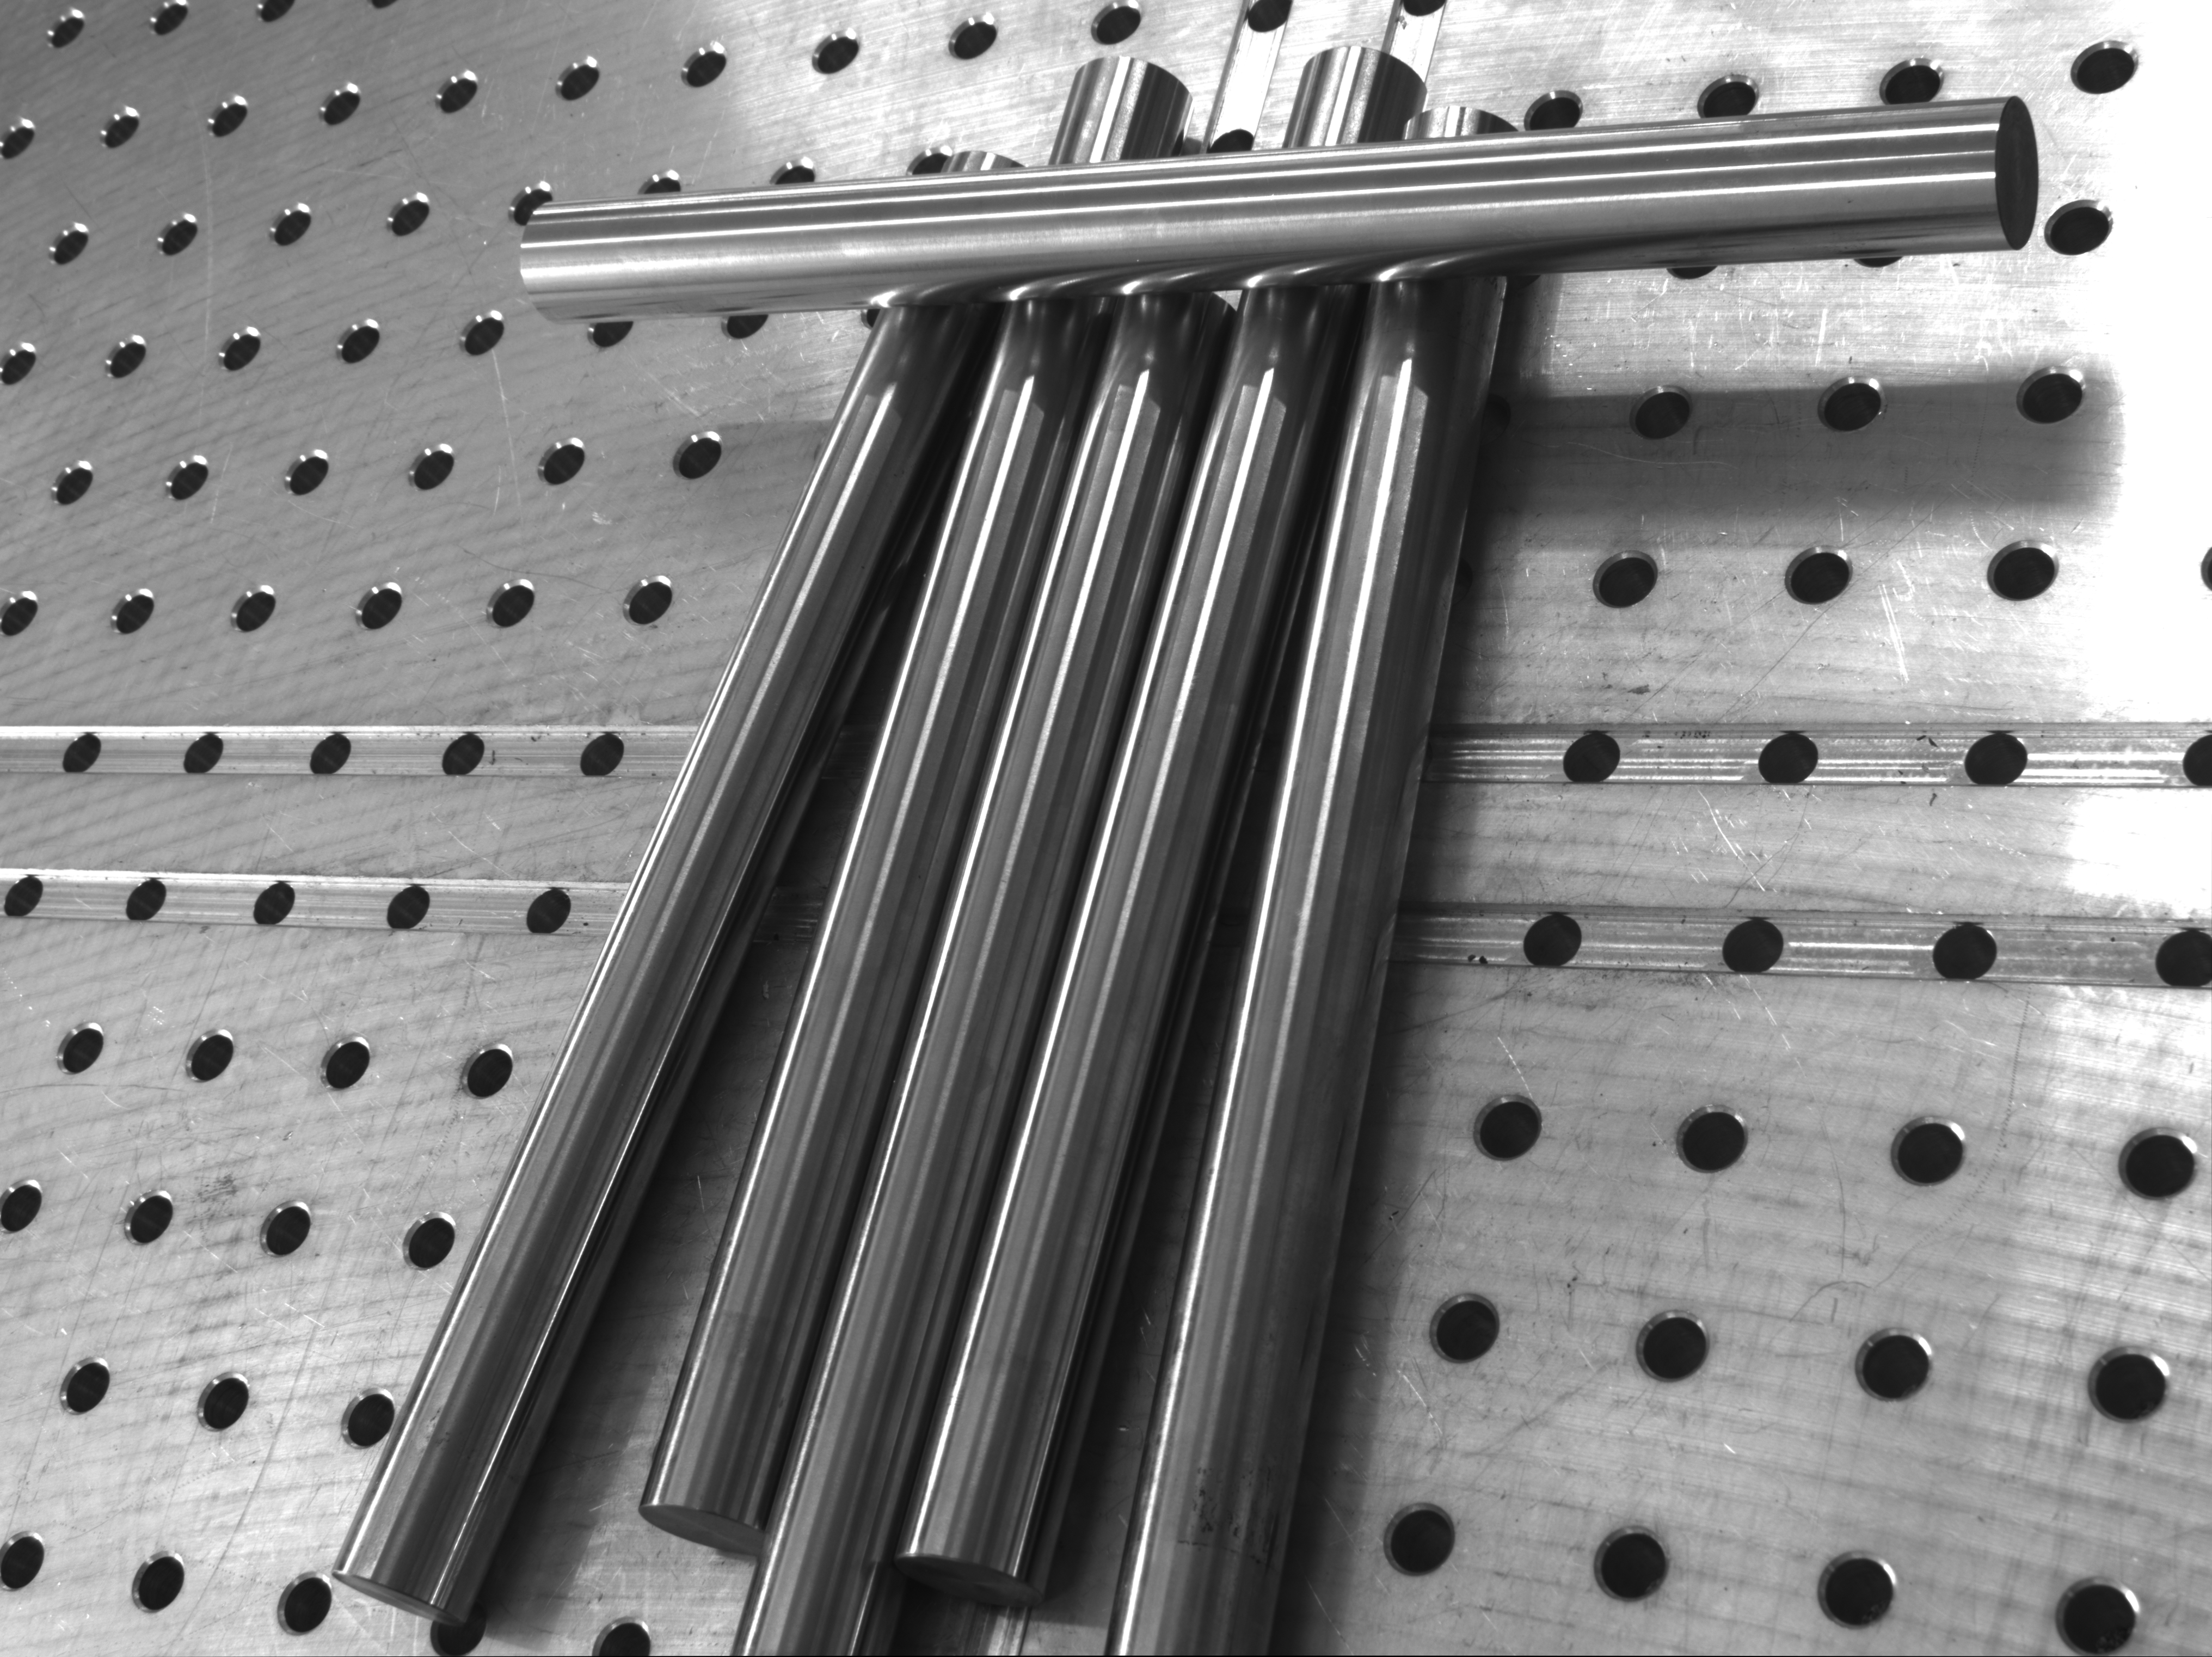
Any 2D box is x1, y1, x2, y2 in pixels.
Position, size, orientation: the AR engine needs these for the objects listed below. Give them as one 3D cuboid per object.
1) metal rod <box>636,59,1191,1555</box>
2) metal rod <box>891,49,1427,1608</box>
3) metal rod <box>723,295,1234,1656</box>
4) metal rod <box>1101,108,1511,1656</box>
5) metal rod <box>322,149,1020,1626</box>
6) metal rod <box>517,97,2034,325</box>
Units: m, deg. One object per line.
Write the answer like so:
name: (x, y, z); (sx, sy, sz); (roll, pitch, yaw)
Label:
metal rod: (-0.031, -0.015, 0.675); (0.025, 0.025, 0.300); (1, 62, 29)
metal rod: (0.014, -0.011, 0.650); (0.025, 0.025, 0.300); (1, 62, 29)
metal rod: (-0.022, 0.035, 0.639); (0.025, 0.025, 0.300); (1, 62, 29)
metal rod: (0.039, 0.004, 0.626); (0.025, 0.025, 0.300); (-2, 60, 27)
metal rod: (-0.073, 0.002, 0.686); (0.025, 0.025, 0.300); (7, 65, 32)
metal rod: (0.018, -0.111, 0.675); (0.299, 0.025, 0.025); (2, 62, 29)
